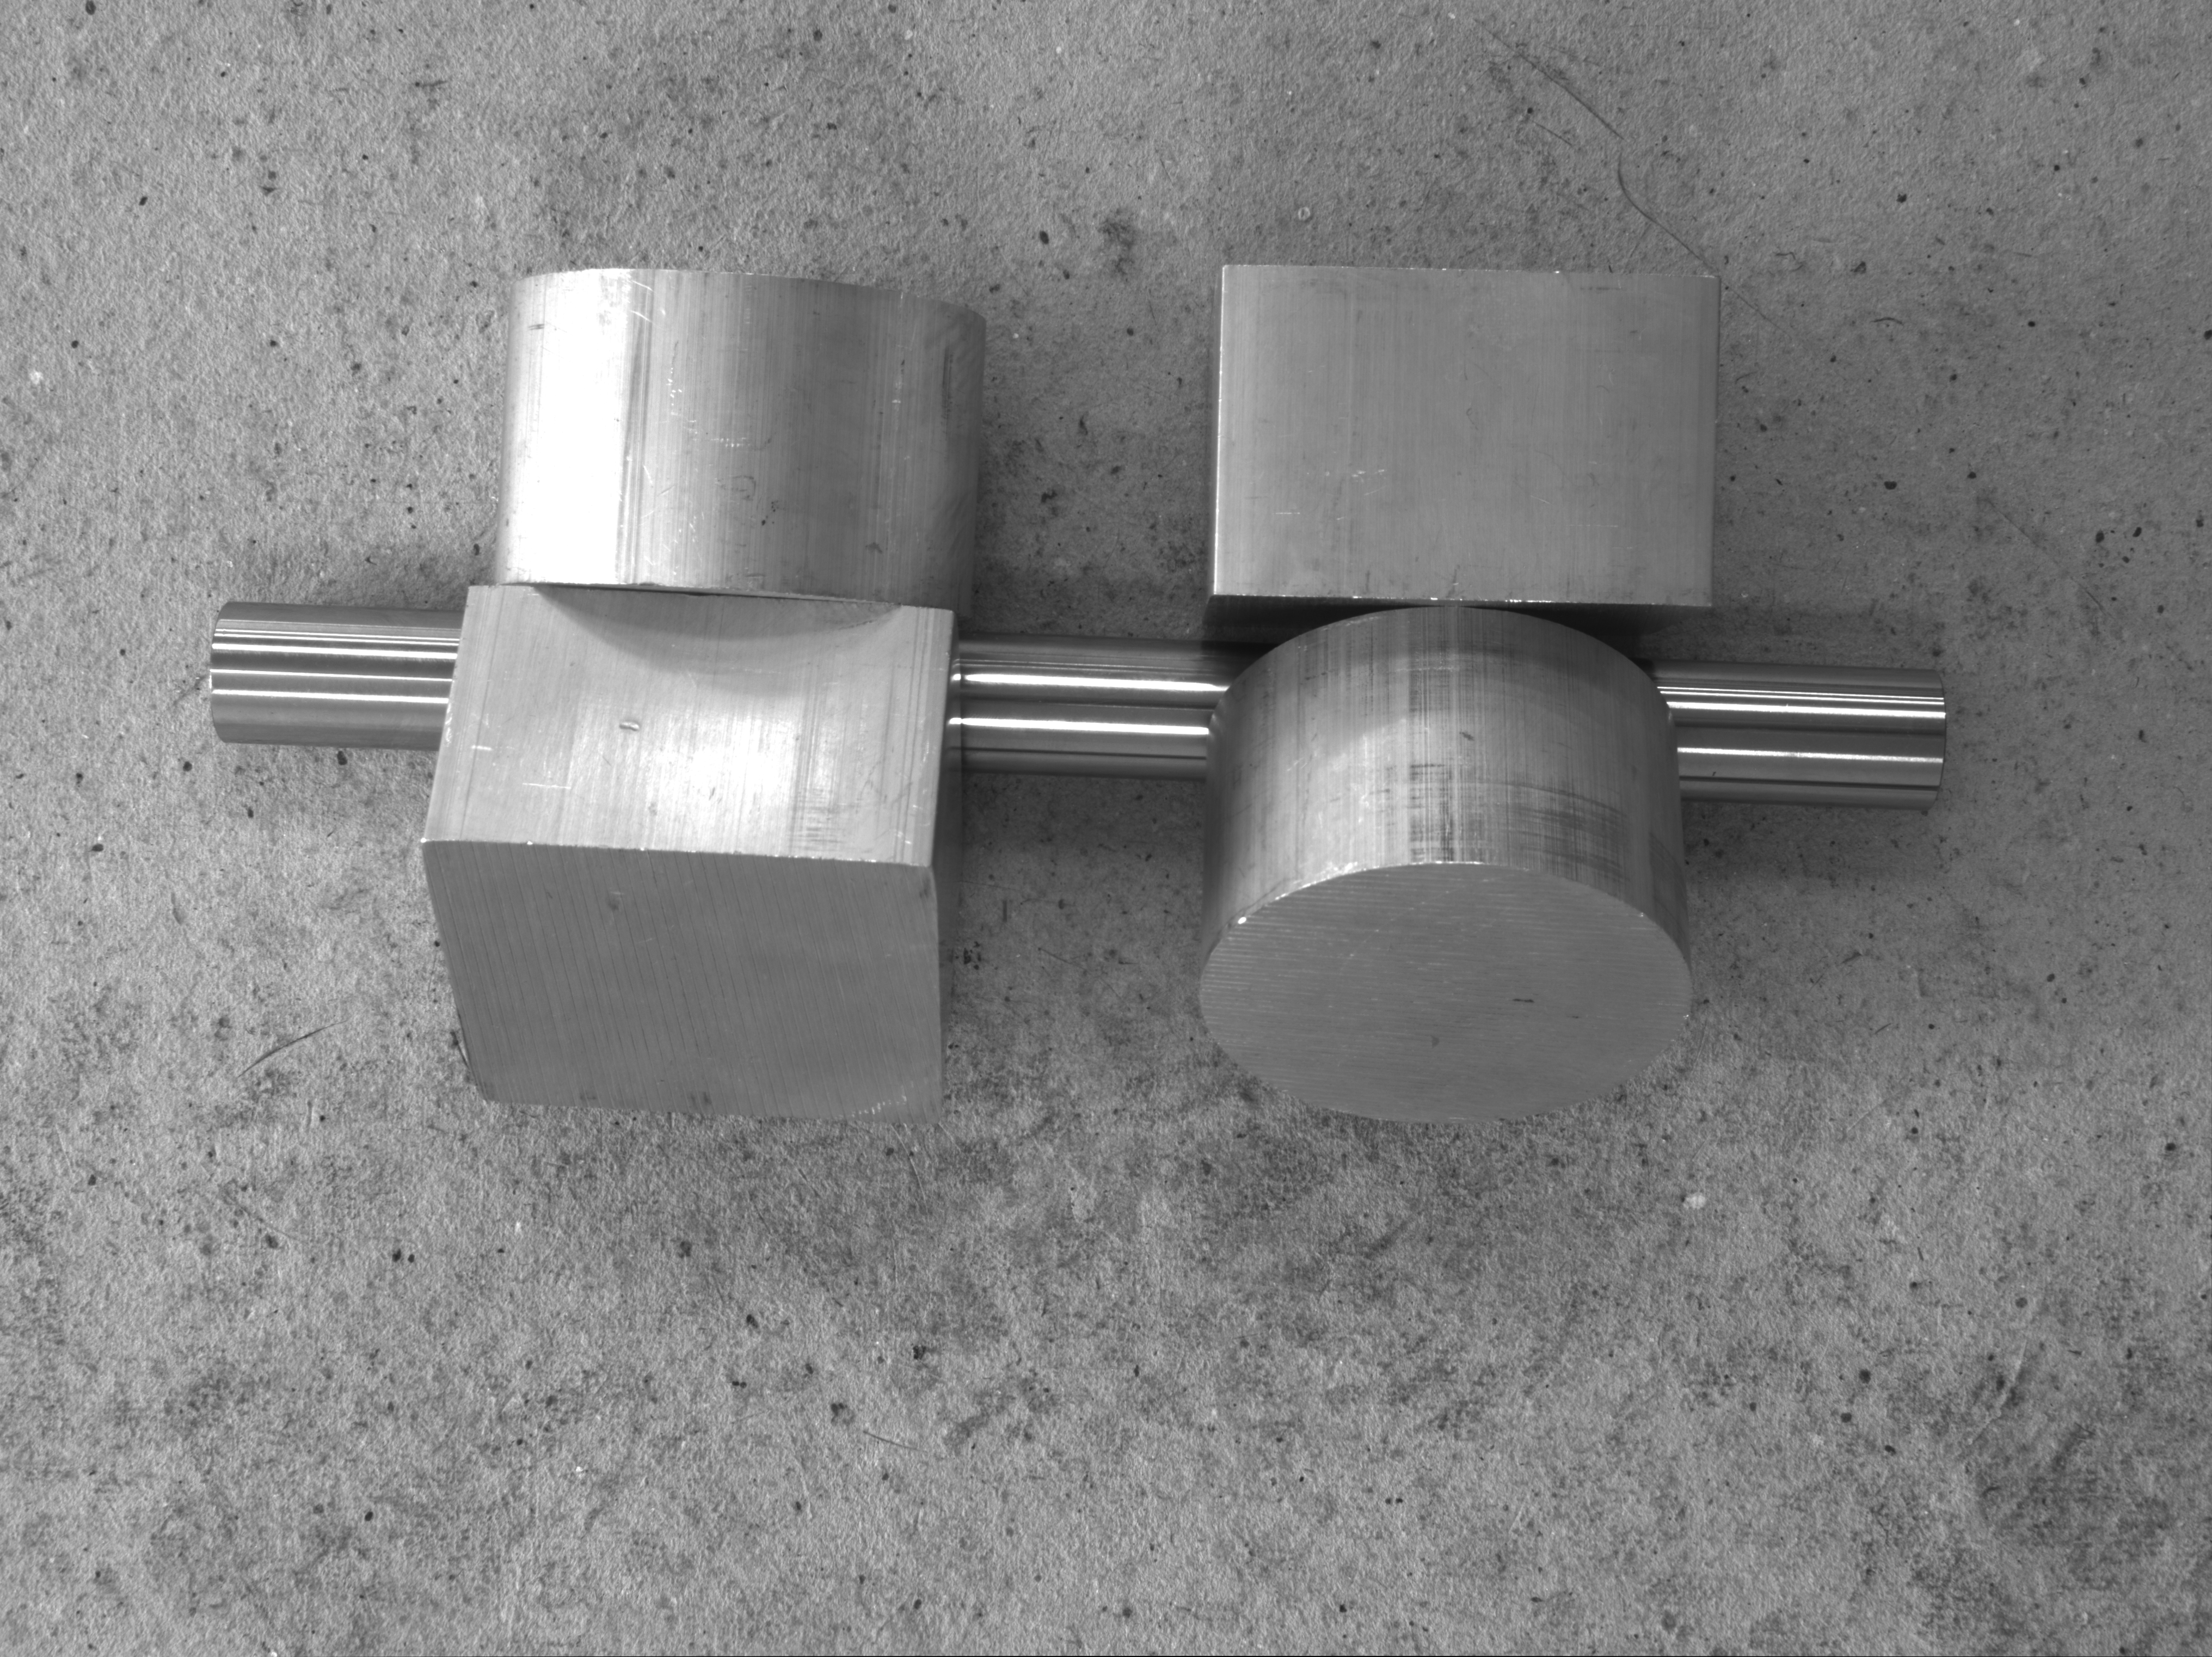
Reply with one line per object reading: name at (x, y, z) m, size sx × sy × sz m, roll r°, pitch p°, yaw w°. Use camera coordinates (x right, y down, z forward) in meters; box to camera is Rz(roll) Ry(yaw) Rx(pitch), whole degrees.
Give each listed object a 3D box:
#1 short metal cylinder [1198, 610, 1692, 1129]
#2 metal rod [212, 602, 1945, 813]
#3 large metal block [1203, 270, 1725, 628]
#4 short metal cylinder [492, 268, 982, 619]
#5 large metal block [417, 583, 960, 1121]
short metal cylinder at (0.056, 0.008, 0.612) m, size 0.080 × 0.080 × 0.050 m, roll 2°, pitch 55°, yaw 0°
metal rod at (-0.005, -0.021, 0.648) m, size 0.300 × 0.025 × 0.025 m, roll 2°, pitch 90°, yaw 0°
large metal block at (0.057, -0.062, 0.618) m, size 0.080 × 0.080 × 0.050 m, roll 1°, pitch 90°, yaw 0°
short metal cylinder at (-0.062, -0.063, 0.618) m, size 0.080 × 0.080 × 0.050 m, roll 3°, pitch 90°, yaw 0°
large metal block at (-0.066, 0.005, 0.612) m, size 0.080 × 0.080 × 0.050 m, roll 3°, pitch 56°, yaw 0°
